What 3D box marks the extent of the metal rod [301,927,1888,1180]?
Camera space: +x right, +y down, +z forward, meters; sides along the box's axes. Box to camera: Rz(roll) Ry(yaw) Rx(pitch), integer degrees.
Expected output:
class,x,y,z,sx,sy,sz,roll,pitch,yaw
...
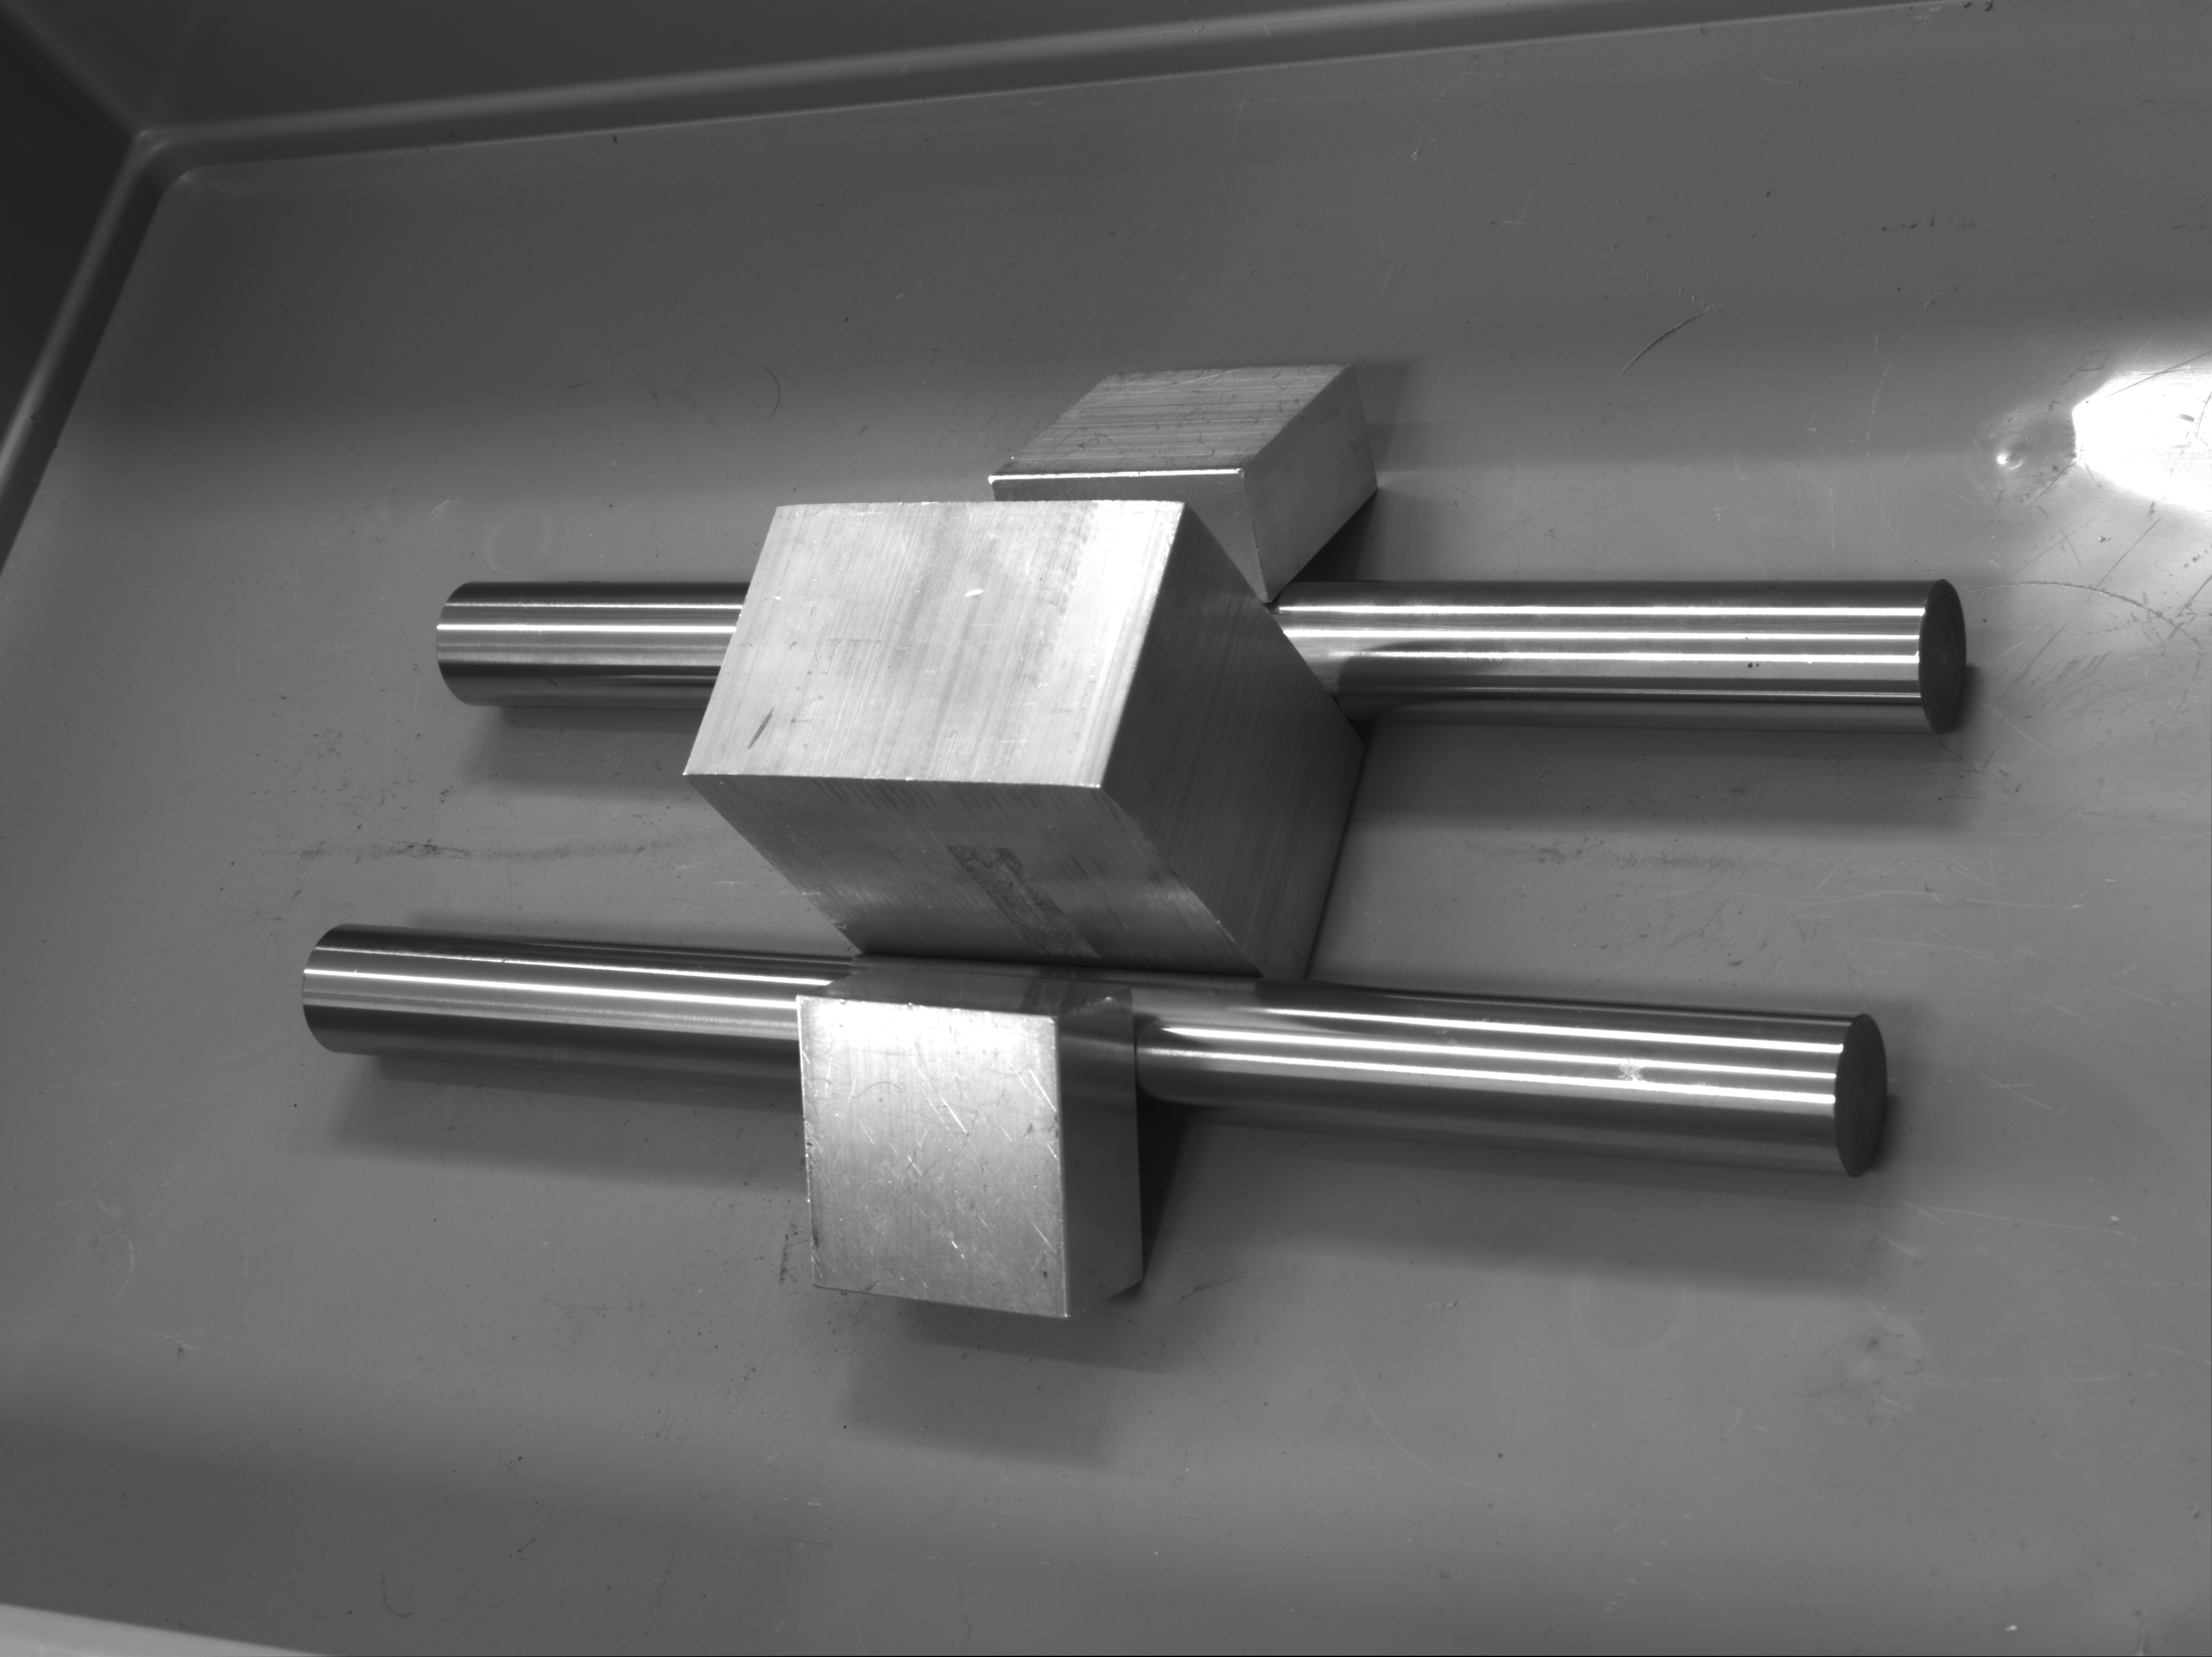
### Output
class,x,y,z,sx,sy,sz,roll,pitch,yaw
metal rod,-0.015,0.036,0.631,0.299,0.025,0.025,2,63,29

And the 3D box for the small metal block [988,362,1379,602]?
class,x,y,z,sx,sy,sz,roll,pitch,yaw
small metal block,0.015,-0.062,0.660,0.050,0.025,0.050,1,28,29

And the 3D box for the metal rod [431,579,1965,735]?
class,x,y,z,sx,sy,sz,roll,pitch,yaw
metal rod,0.004,-0.032,0.661,0.299,0.025,0.025,2,63,29

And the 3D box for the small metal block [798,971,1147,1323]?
class,x,y,z,sx,sy,sz,roll,pitch,yaw
small metal block,-0.022,0.052,0.609,0.050,0.025,0.050,3,100,29

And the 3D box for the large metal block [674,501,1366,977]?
class,x,y,z,sx,sy,sz,roll,pitch,yaw
large metal block,-0.012,-0.012,0.621,0.080,0.080,0.050,2,62,29
